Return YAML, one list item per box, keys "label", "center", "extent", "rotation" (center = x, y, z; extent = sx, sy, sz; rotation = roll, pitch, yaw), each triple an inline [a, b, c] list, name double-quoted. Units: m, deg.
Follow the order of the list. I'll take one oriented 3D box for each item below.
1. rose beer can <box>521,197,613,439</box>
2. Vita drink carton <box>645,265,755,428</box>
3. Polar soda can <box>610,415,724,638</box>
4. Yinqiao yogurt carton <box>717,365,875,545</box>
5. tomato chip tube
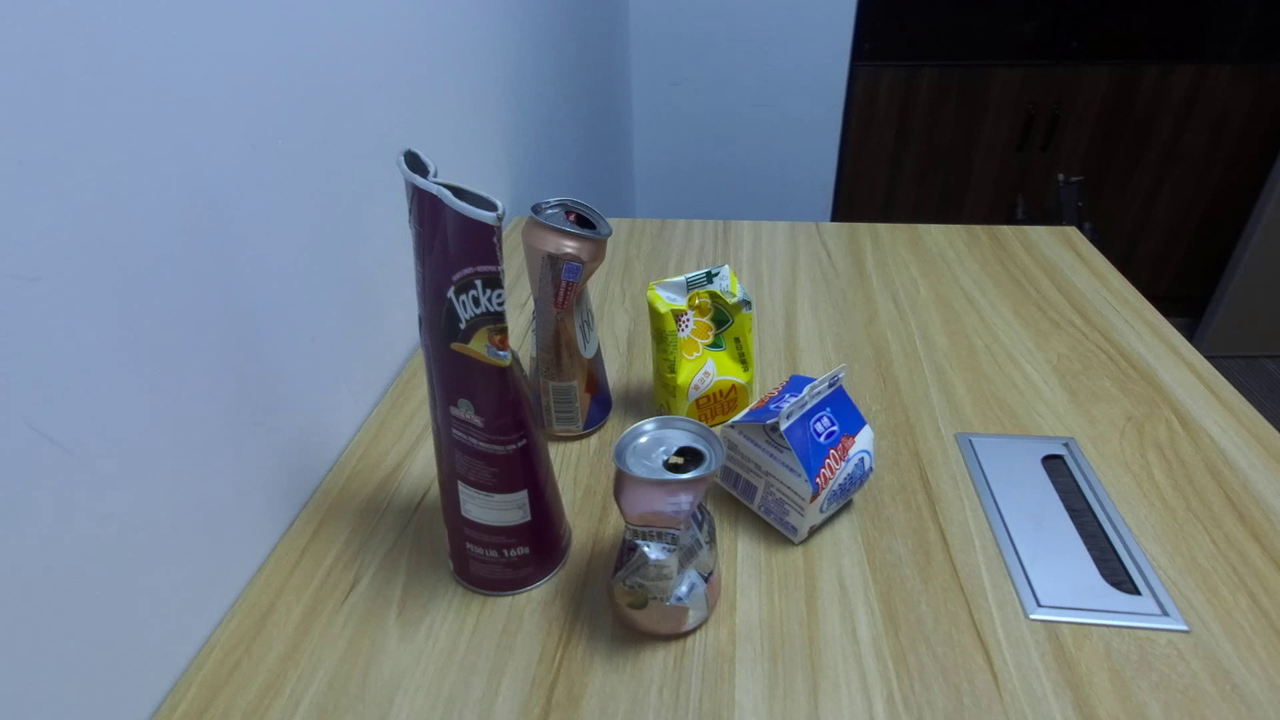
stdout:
- label: "rose beer can"
  center: [-0.053, -0.026, 0.503]
  extent: [0.070, 0.168, 0.069]
  rotation: [-24, 39, -38]
- label: "Vita drink carton"
  center: [0.047, -0.006, 0.513]
  extent: [0.071, 0.110, 0.046]
  rotation: [-15, 32, -16]
- label: "Polar soda can"
  center: [0.013, 0.086, 0.374]
  extent: [0.070, 0.114, 0.074]
  rotation: [-19, 41, -30]
- label: "Yinqiao yogurt carton"
  center: [0.101, 0.050, 0.437]
  extent: [0.075, 0.097, 0.080]
  rotation: [-29, 50, -35]
- label: "tomato chip tube"
  center: [-0.084, 0.020, 0.376]
  extent: [0.078, 0.236, 0.090]
  rotation: [3, 31, 7]
